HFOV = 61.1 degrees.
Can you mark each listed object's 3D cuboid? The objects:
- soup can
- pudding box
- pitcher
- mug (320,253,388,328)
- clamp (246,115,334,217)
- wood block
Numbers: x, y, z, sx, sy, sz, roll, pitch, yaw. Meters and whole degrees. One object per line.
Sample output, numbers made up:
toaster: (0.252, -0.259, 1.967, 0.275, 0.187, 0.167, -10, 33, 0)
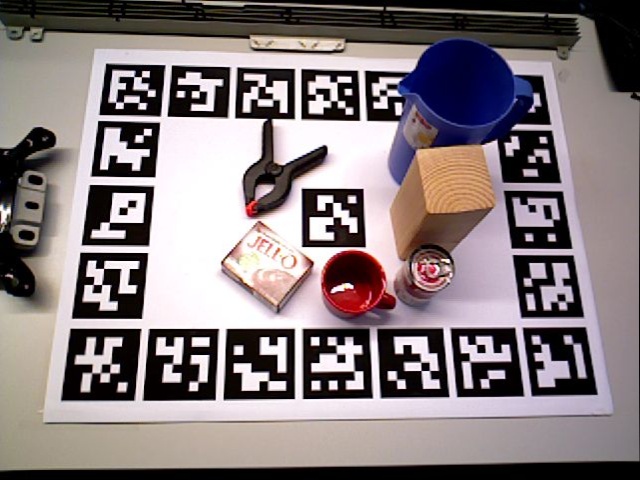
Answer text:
soup can: (0.146, 0.065, 0.767, 0.067, 0.103, 0.067, 1, 73, -3)
pudding box: (-0.089, 0.042, 0.802, 0.114, 0.039, 0.089, 38, 77, 10)
pitcher: (0.196, -0.156, 0.770, 0.188, 0.246, 0.132, 1, 68, 0)
mug: (0.052, 0.084, 0.769, 0.117, 0.083, 0.092, 36, 70, 10)
clamp: (-0.065, -0.107, 0.858, 0.121, 0.037, 0.163, 32, 73, 0)
wood block: (0.168, -0.037, 0.746, 0.089, 0.209, 0.090, 0, 70, -7)
